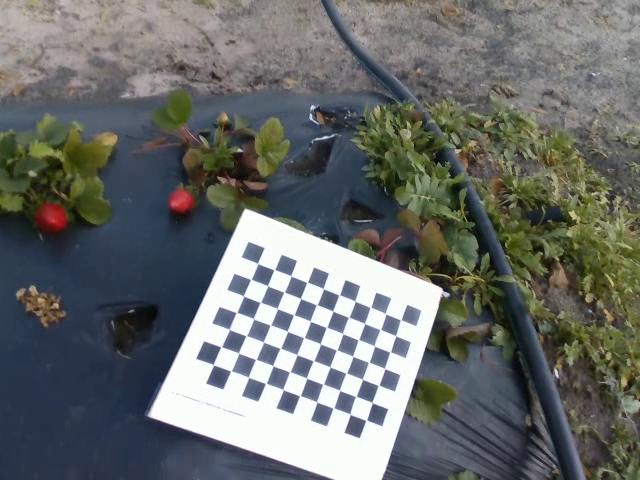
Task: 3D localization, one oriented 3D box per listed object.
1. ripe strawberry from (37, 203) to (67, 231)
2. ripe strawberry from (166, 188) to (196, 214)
[{"bbox_3d":[-0.340,-0.034,0.749,0.050,0.046,0.050,28,-3,-16],"label":"ripe strawberry"},{"bbox_3d":[-0.197,-0.056,0.811,0.041,0.045,0.052,-37,8,21],"label":"ripe strawberry"}]
